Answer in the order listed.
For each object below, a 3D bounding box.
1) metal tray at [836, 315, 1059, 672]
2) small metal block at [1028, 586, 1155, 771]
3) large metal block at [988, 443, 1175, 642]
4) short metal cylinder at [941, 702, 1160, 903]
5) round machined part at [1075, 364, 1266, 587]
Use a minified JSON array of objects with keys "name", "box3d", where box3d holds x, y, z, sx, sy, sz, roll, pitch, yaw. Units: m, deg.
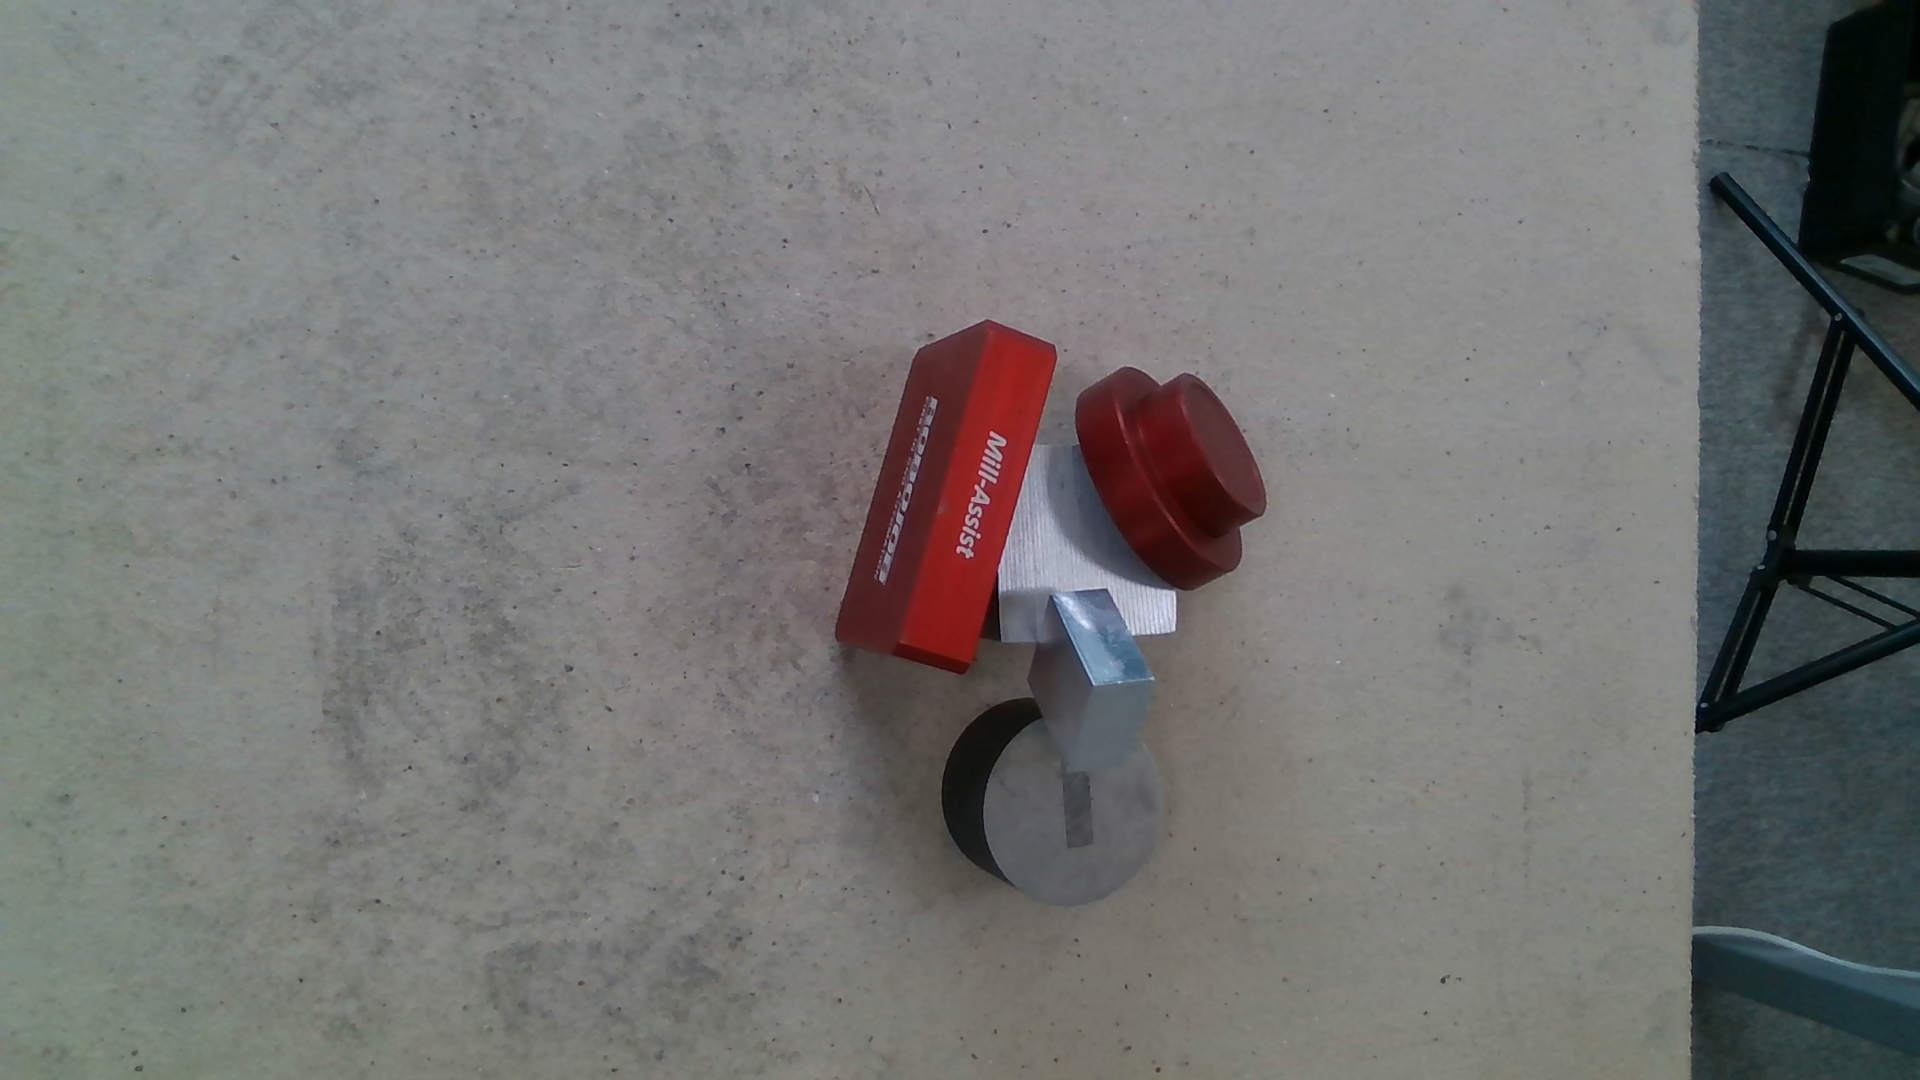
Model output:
[{"name":"metal tray","box3d":[-0.008,-0.017,0.548,0.030,0.090,0.130,18,84,-19]},{"name":"small metal block","box3d":[0.050,0.054,0.543,0.025,0.050,0.050,-4,133,-18]},{"name":"large metal block","box3d":[0.044,0.000,0.591,0.080,0.050,0.080,-2,91,-20]},{"name":"short metal cylinder","box3d":[0.038,0.109,0.589,0.080,0.050,0.080,0,90,-20]},{"name":"round machined part","box3d":[0.094,-0.032,0.581,0.042,0.098,0.098,-29,104,27]}]
